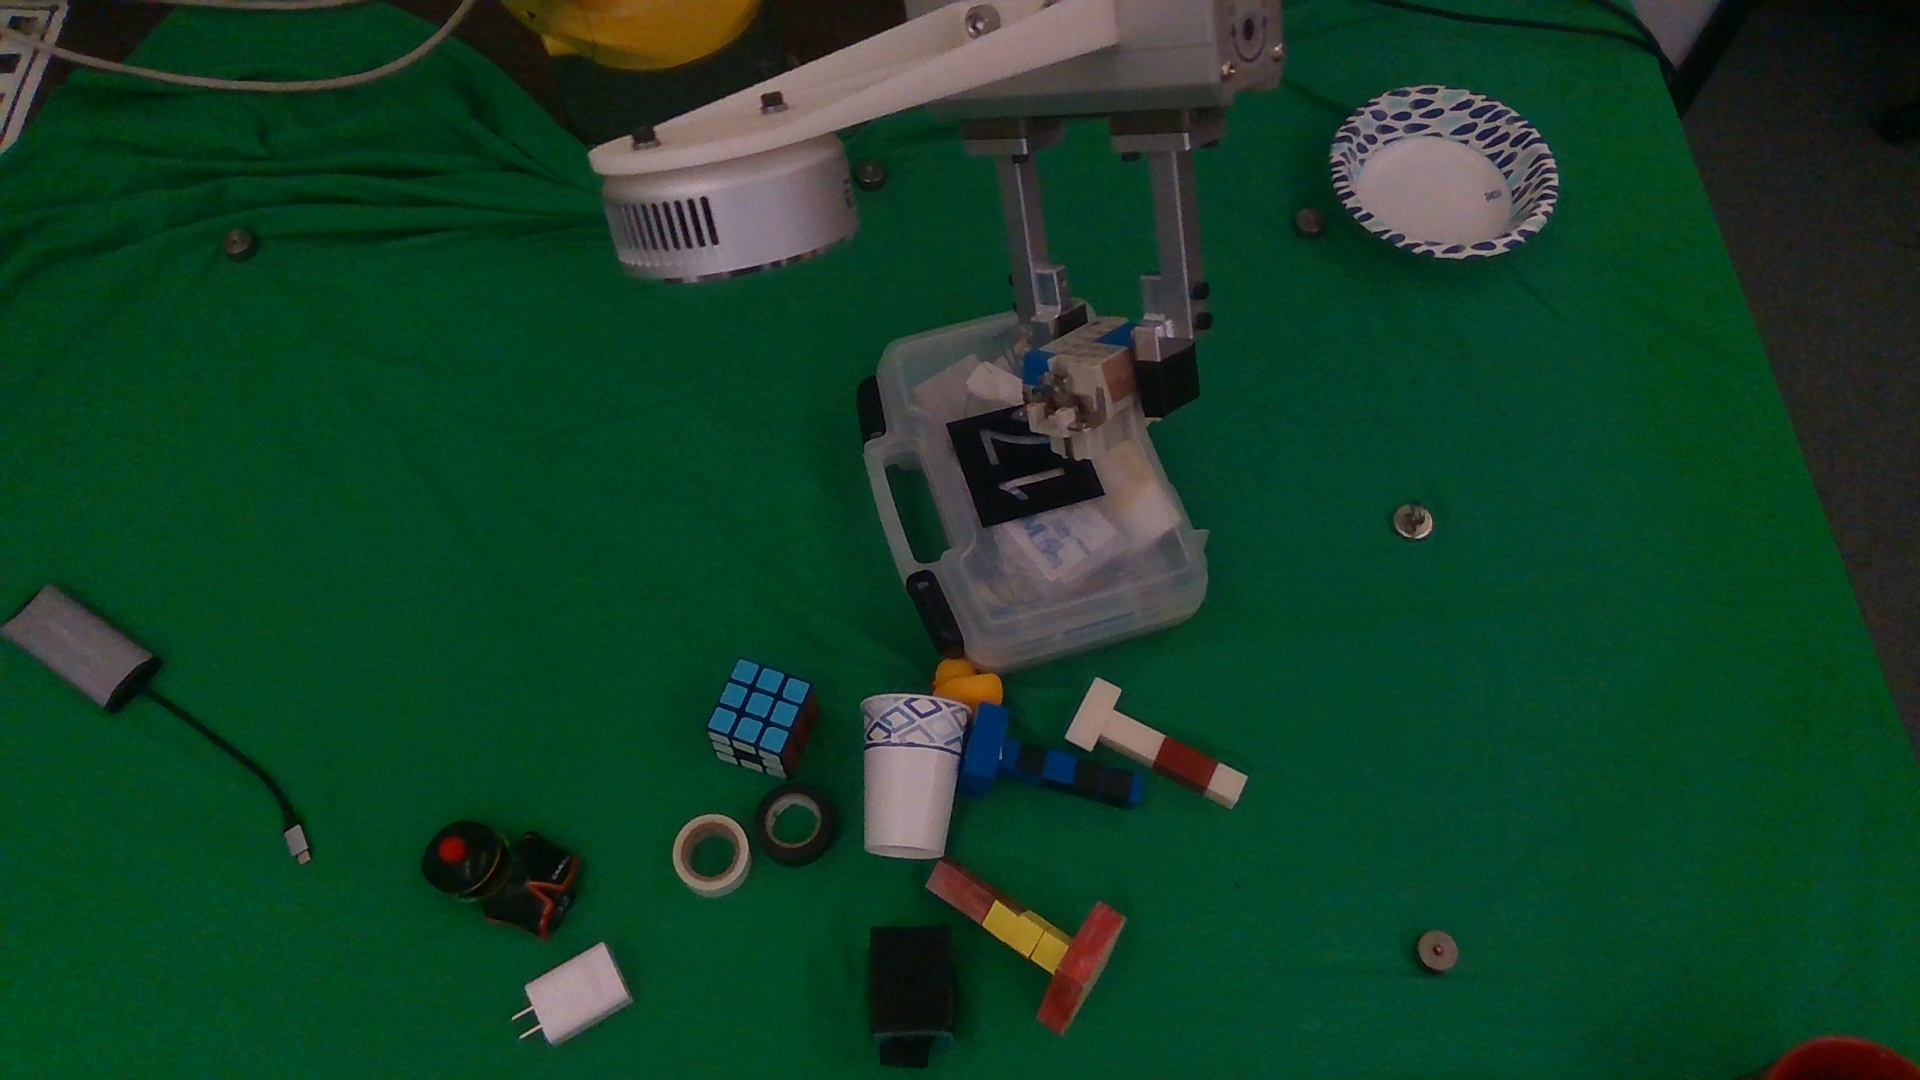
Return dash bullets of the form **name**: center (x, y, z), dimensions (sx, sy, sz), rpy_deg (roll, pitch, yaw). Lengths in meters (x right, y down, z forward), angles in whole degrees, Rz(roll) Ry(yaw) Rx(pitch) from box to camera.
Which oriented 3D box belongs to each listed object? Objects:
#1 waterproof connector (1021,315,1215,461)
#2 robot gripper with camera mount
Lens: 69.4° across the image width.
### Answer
- **waterproof connector**: center (0.053, -0.051, 0.465), dimensions (0.065, 0.037, 0.035), rpy_deg (-29, 27, -34)
- **robot gripper with camera mount**: center (0.007, -0.085, 0.387), dimensions (0.119, 0.158, 0.193), rpy_deg (5, 27, 40)
